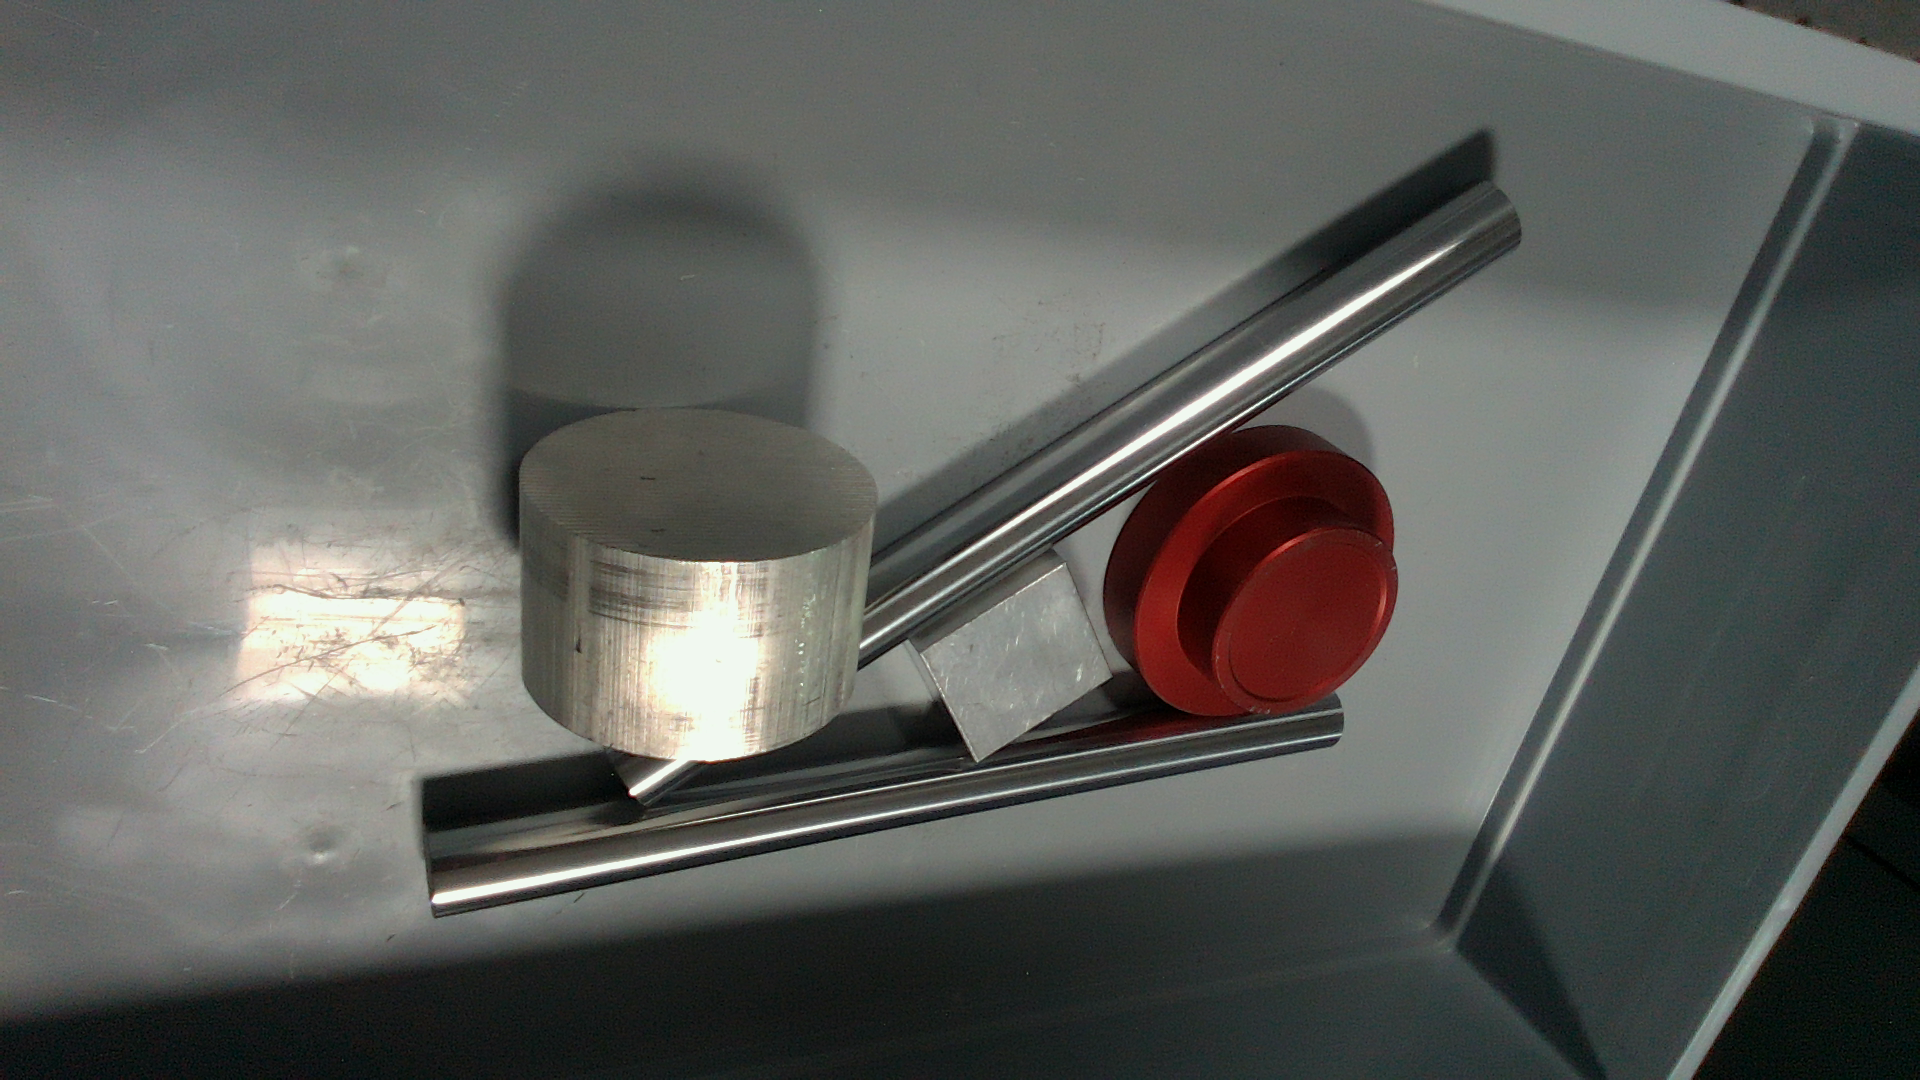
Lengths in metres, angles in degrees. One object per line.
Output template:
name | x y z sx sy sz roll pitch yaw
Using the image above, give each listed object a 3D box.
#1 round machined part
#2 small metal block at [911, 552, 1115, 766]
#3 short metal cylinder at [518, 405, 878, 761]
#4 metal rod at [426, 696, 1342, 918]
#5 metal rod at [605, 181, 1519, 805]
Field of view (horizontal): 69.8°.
round machined part | 0.099 0.017 0.439 0.098 0.042 0.098 -14 124 -21
small metal block | 0.013 0.032 0.413 0.050 0.025 0.050 -31 129 -8
short metal cylinder | -0.062 0.007 0.324 0.080 0.080 0.050 -5 121 -26
metal rod | -0.006 0.075 0.431 0.301 0.025 0.025 -5 121 -26
metal rod | 0.034 -0.018 0.395 0.300 0.025 0.025 -32 129 -7
